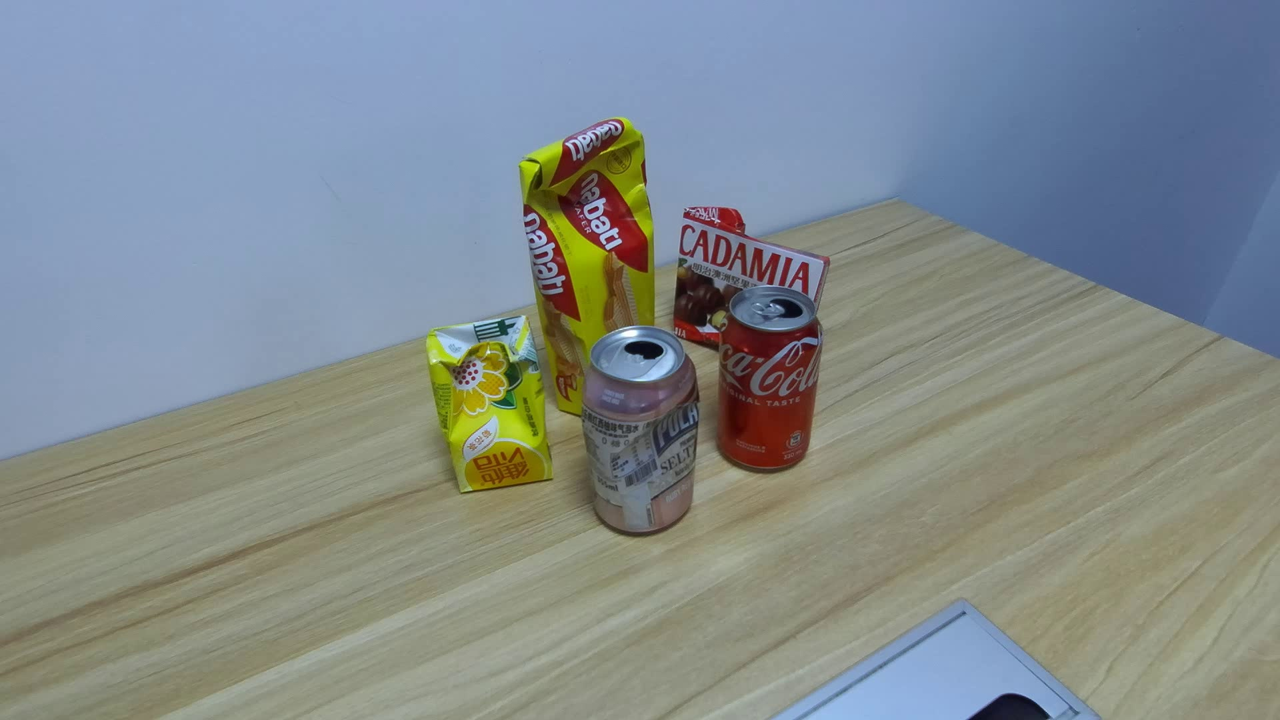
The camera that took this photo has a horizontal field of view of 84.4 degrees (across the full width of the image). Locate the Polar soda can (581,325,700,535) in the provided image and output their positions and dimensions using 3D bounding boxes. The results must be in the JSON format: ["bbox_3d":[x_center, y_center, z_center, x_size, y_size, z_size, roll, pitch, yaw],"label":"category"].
[{"bbox_3d":[0.003,0.045,0.434,0.074,0.122,0.067,-8,35,-6],"label":"Polar soda can"}]

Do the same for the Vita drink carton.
[{"bbox_3d":[-0.098,0.032,0.472,0.071,0.110,0.046,-8,32,-6],"label":"Vita drink carton"}]

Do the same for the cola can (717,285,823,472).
[{"bbox_3d":[0.086,0.013,0.476,0.068,0.120,0.067,-2,35,1],"label":"cola can"}]

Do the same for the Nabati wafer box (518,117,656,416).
[{"bbox_3d":[-0.031,-0.061,0.513,0.042,0.205,0.113,16,40,27],"label":"Nabati wafer box"}]

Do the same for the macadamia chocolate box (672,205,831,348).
[{"bbox_3d":[0.089,-0.060,0.584,0.126,0.112,0.056,24,40,33],"label":"macadamia chocolate box"}]
